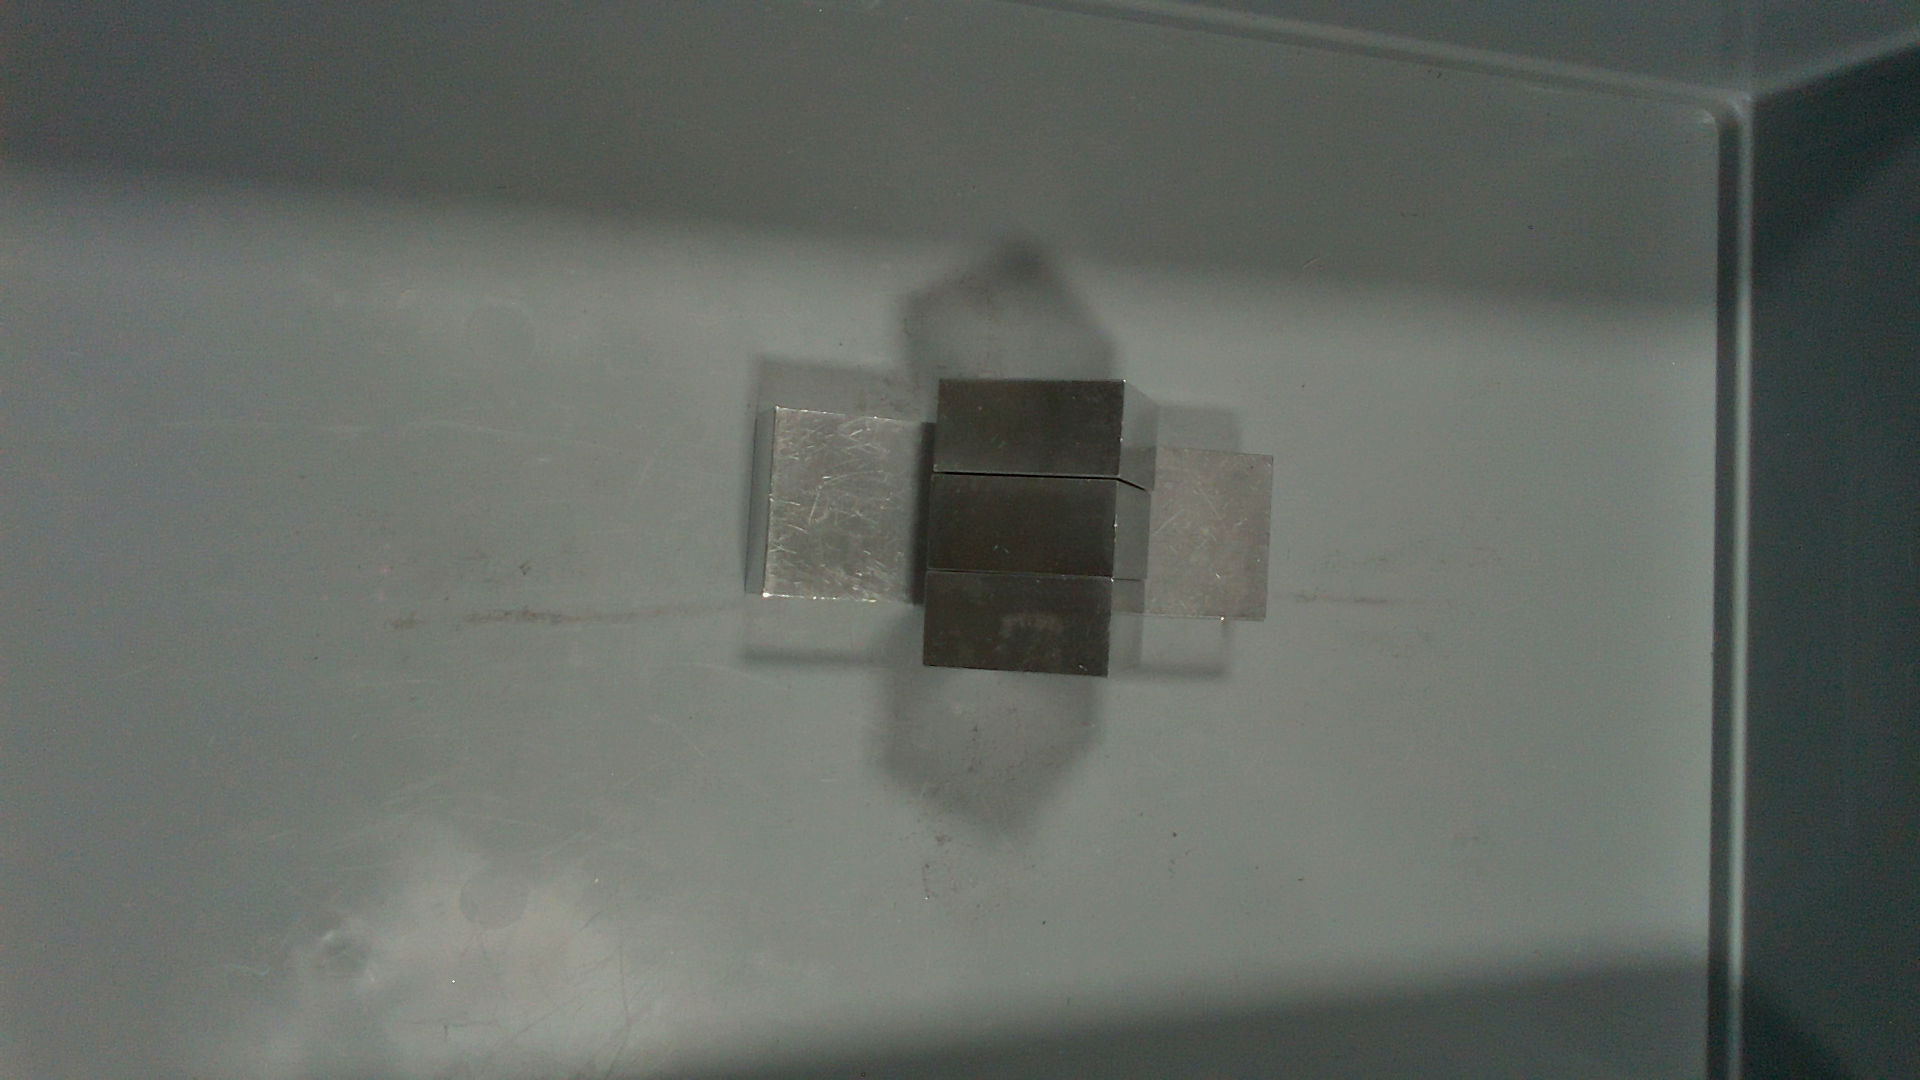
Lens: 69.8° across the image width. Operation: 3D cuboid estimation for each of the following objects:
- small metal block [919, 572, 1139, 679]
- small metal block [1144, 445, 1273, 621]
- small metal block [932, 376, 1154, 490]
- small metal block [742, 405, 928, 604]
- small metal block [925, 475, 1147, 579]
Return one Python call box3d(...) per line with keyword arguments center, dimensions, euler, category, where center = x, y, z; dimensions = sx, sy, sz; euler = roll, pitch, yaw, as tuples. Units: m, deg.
box3d(center=(0.021, 0.022, 0.376), dimensions=(0.050, 0.050, 0.025), euler=(2, 89, 17), category="small metal block")
box3d(center=(0.065, -0.002, 0.416), dimensions=(0.050, 0.025, 0.050), euler=(3, 89, -20), category="small metal block")
box3d(center=(0.024, -0.028, 0.377), dimensions=(0.050, 0.050, 0.025), euler=(3, 88, 17), category="small metal block")
box3d(center=(-0.032, -0.009, 0.381), dimensions=(0.050, 0.025, 0.050), euler=(4, 89, -20), category="small metal block")
box3d(center=(0.022, -0.003, 0.376), dimensions=(0.050, 0.050, 0.025), euler=(2, 89, 17), category="small metal block")
